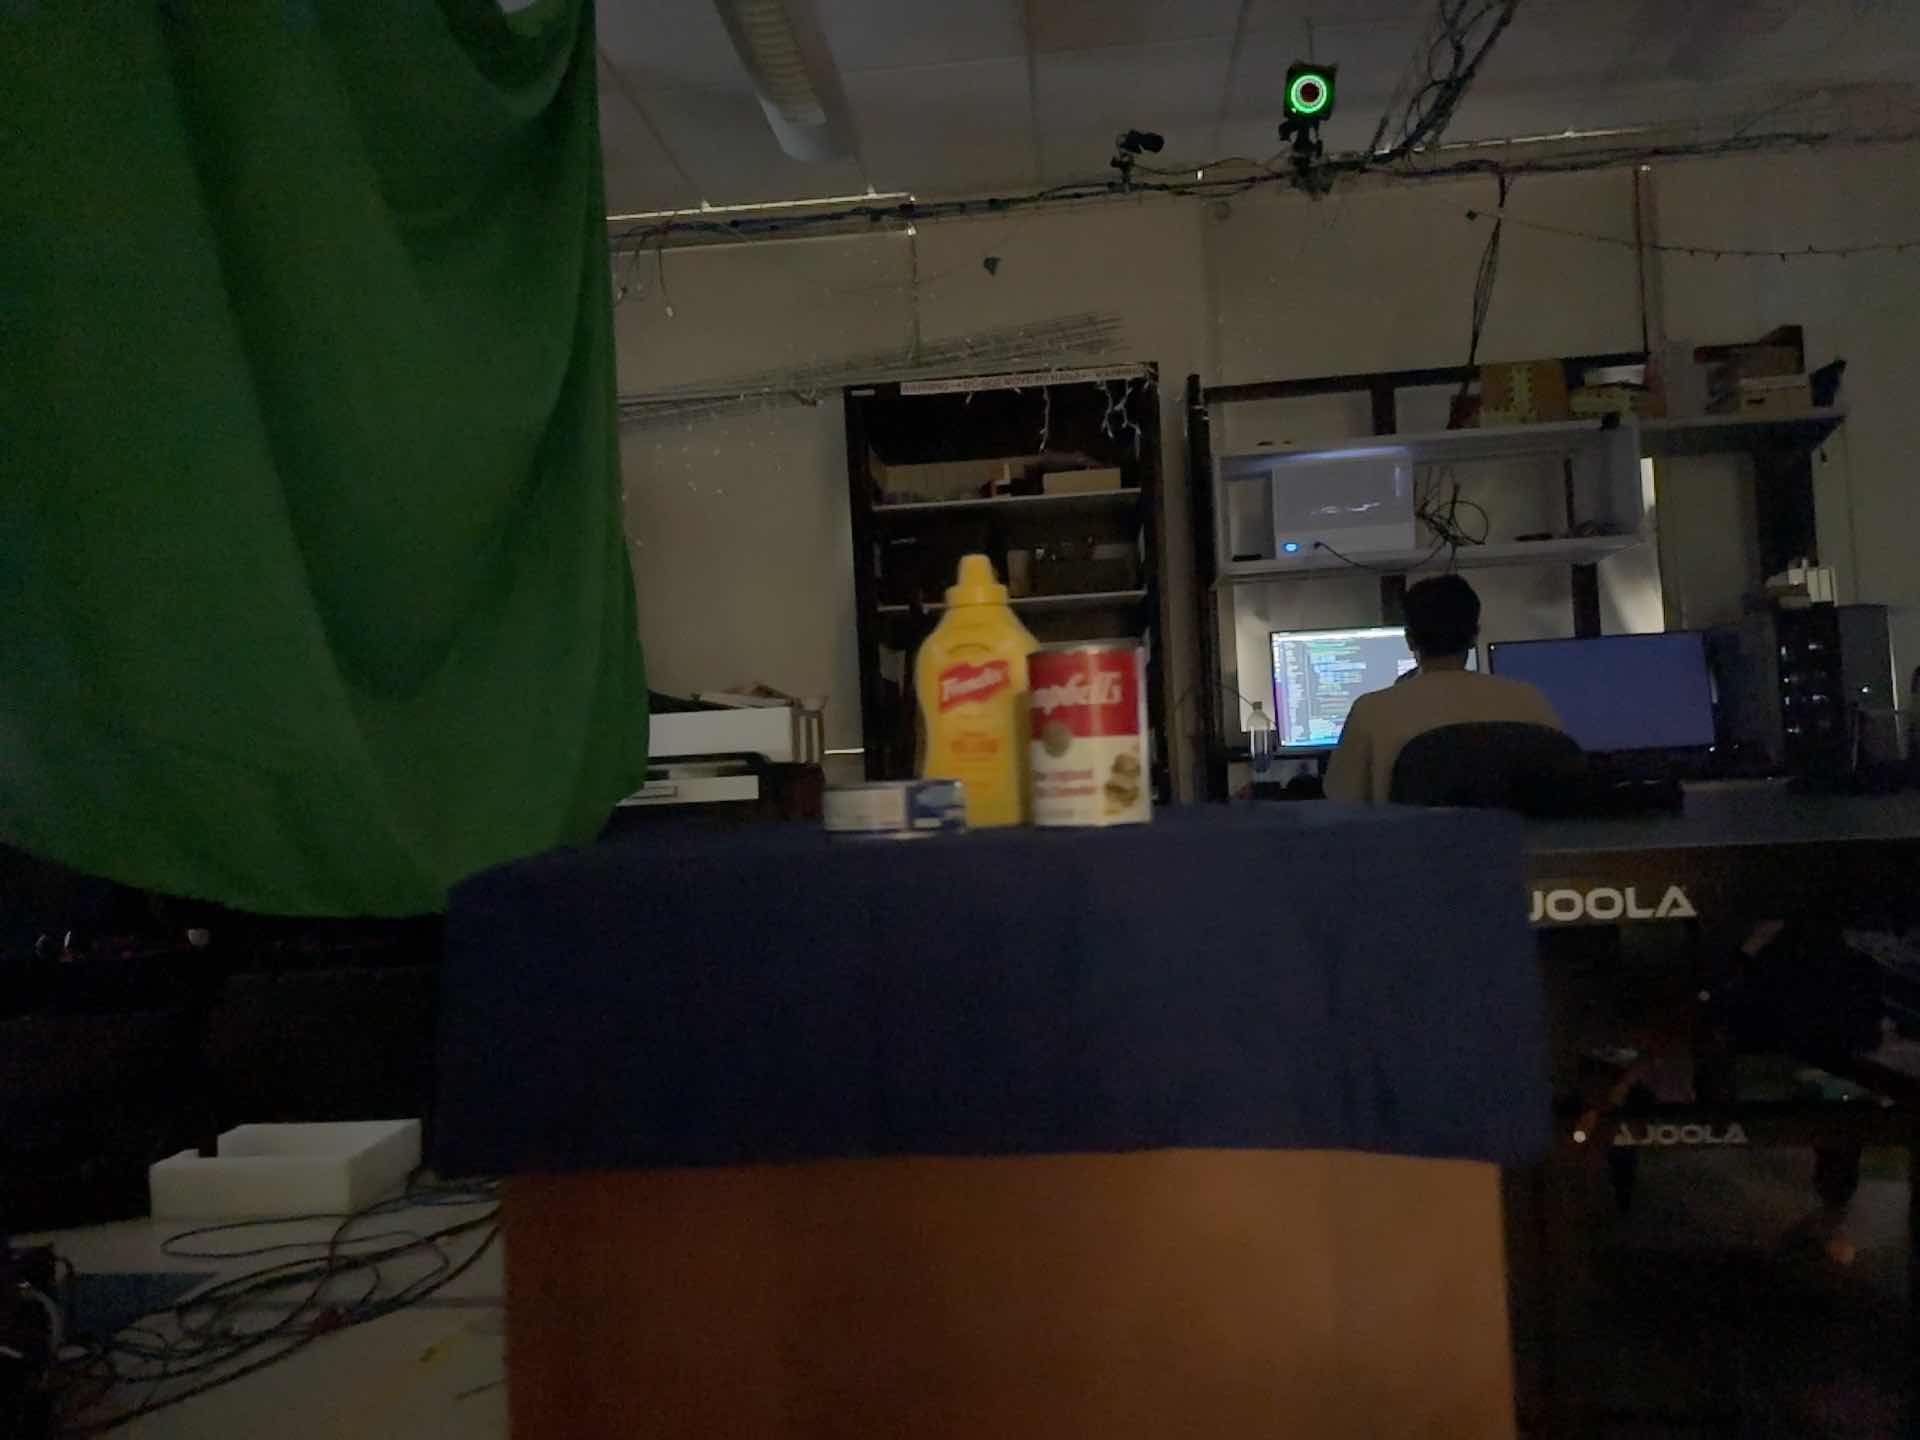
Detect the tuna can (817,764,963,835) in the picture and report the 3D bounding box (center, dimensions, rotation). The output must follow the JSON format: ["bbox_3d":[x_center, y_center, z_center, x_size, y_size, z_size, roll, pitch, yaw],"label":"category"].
[{"bbox_3d":[-0.041,0.045,0.786,0.083,0.034,0.083,-3,1,0],"label":"tuna can"}]

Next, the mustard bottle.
[{"bbox_3d":[0.014,-0.013,0.861,0.092,0.184,0.054,-2,2,21],"label":"mustard bottle"}]

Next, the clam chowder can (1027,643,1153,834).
[{"bbox_3d":[0.073,0.010,0.755,0.068,0.102,0.068,-2,1,0],"label":"clam chowder can"}]
